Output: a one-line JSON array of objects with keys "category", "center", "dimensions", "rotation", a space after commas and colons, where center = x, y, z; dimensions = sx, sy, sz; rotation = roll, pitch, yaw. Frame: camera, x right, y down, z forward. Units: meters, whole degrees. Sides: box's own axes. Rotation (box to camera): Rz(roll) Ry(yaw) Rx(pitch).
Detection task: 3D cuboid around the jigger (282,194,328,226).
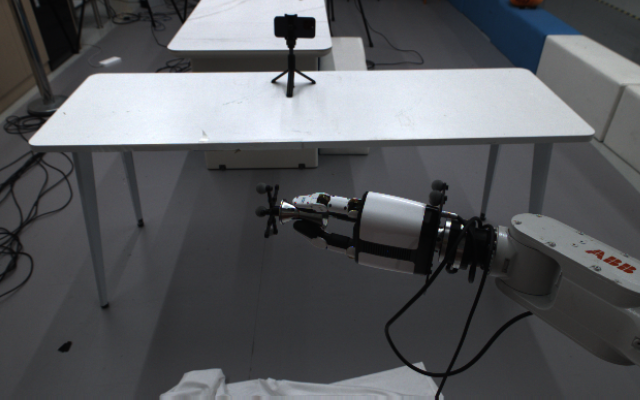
[{"category": "jigger", "center": [-0.017, 0.016, 0.732], "dimensions": [0.071, 0.043, 0.043], "rotation": [3, 34, 12]}]
